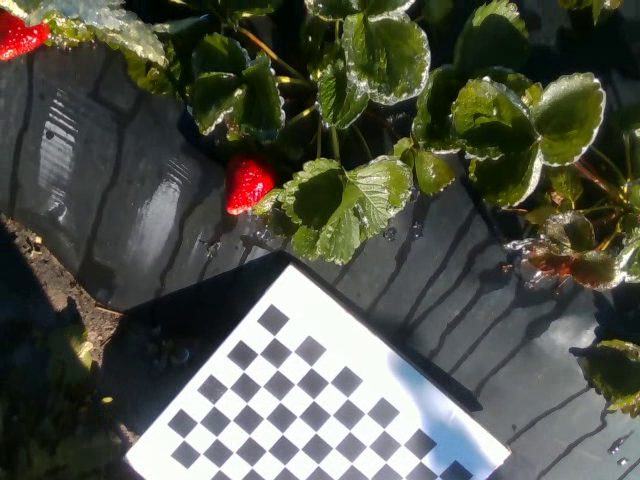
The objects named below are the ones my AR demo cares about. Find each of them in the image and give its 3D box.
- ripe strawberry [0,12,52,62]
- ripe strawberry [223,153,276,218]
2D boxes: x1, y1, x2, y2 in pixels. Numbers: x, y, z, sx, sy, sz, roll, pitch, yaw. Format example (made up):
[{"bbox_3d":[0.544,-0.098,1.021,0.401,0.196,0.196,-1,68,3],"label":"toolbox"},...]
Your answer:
[{"bbox_3d":[-0.219,-0.149,0.437,0.037,0.051,0.040,26,-37,0],"label":"ripe strawberry"},{"bbox_3d":[-0.056,-0.039,0.443,0.041,0.053,0.047,33,-27,-2],"label":"ripe strawberry"}]
